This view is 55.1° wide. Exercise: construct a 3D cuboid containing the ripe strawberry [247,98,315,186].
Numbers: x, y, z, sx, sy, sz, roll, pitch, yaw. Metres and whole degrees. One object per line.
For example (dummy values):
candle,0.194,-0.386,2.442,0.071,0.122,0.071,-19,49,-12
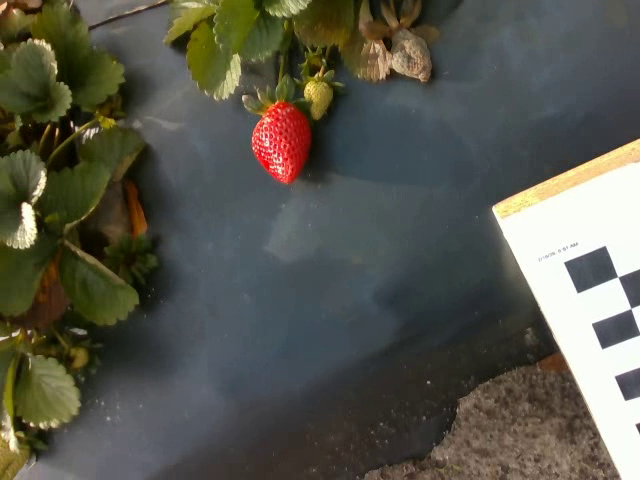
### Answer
ripe strawberry,-0.023,-0.055,0.366,0.045,0.058,0.050,-23,-24,15
